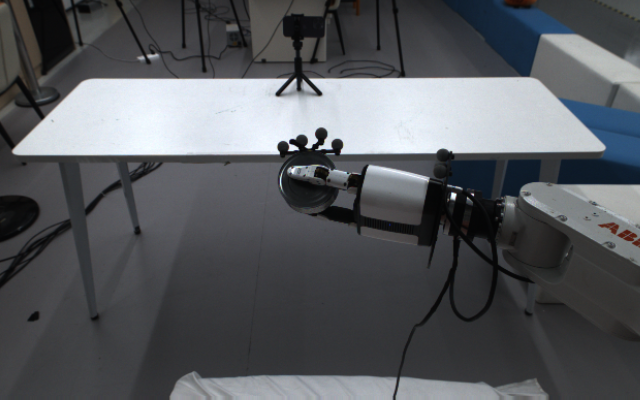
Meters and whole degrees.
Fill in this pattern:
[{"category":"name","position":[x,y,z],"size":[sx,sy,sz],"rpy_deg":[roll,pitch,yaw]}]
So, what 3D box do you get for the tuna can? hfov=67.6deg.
[{"category":"tuna can","position":[-0.014,-0.020,0.683],"size":[0.085,0.034,0.085],"rpy_deg":[-2,69,6]}]
